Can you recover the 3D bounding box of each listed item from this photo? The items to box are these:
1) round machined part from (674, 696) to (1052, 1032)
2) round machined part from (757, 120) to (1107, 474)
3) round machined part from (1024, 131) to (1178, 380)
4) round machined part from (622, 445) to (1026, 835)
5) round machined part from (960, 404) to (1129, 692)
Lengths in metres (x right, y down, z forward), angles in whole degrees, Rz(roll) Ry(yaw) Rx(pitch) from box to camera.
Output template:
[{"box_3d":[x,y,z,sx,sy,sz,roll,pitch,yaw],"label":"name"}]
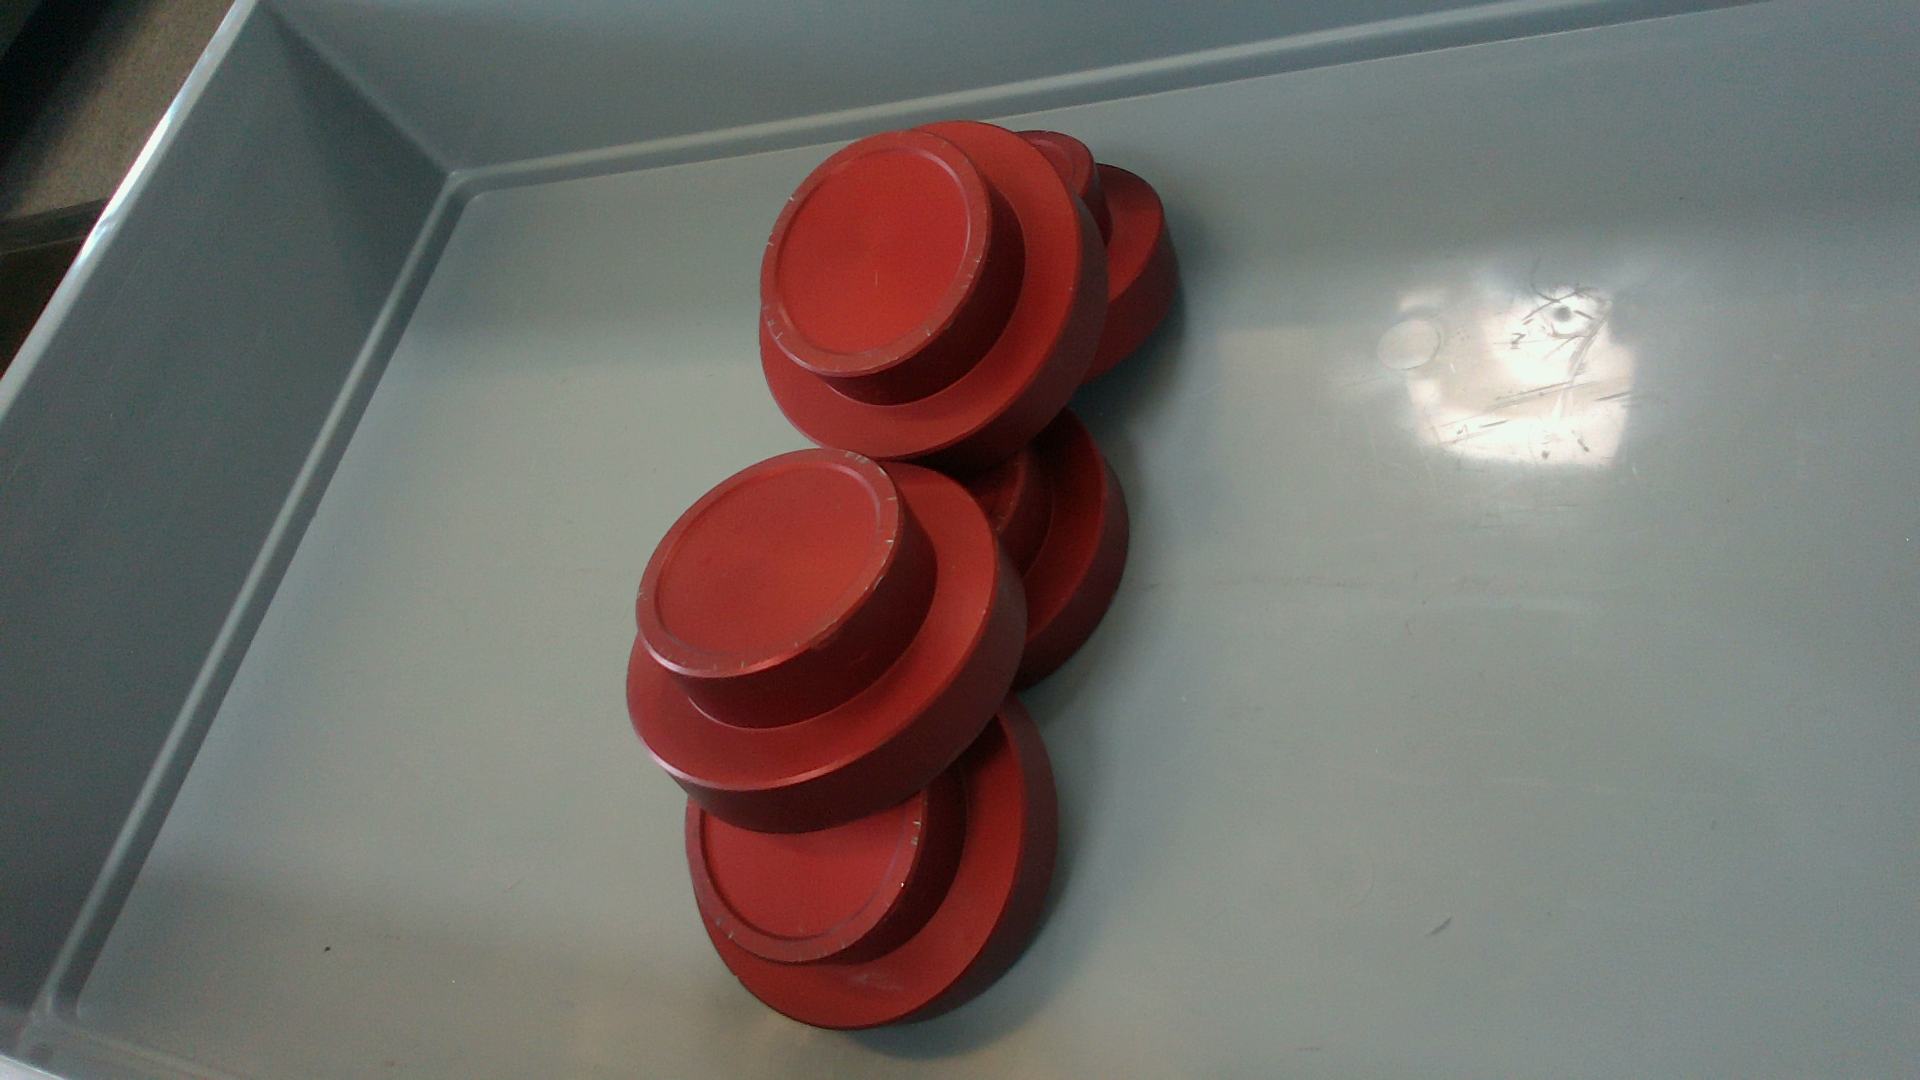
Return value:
[{"box_3d":[-0.030,0.069,0.337,0.098,0.042,0.098,-8,73,27],"label":"round machined part"},{"box_3d":[-0.014,-0.068,0.364,0.098,0.042,0.098,-9,70,26],"label":"round machined part"},{"box_3d":[0.013,-0.087,0.414,0.098,0.042,0.098,-15,40,13],"label":"round machined part"},{"box_3d":[-0.037,0.016,0.326,0.098,0.042,0.098,-15,45,16],"label":"round machined part"},{"box_3d":[-0.005,-0.005,0.388,0.098,0.042,0.098,-14,55,20],"label":"round machined part"}]
